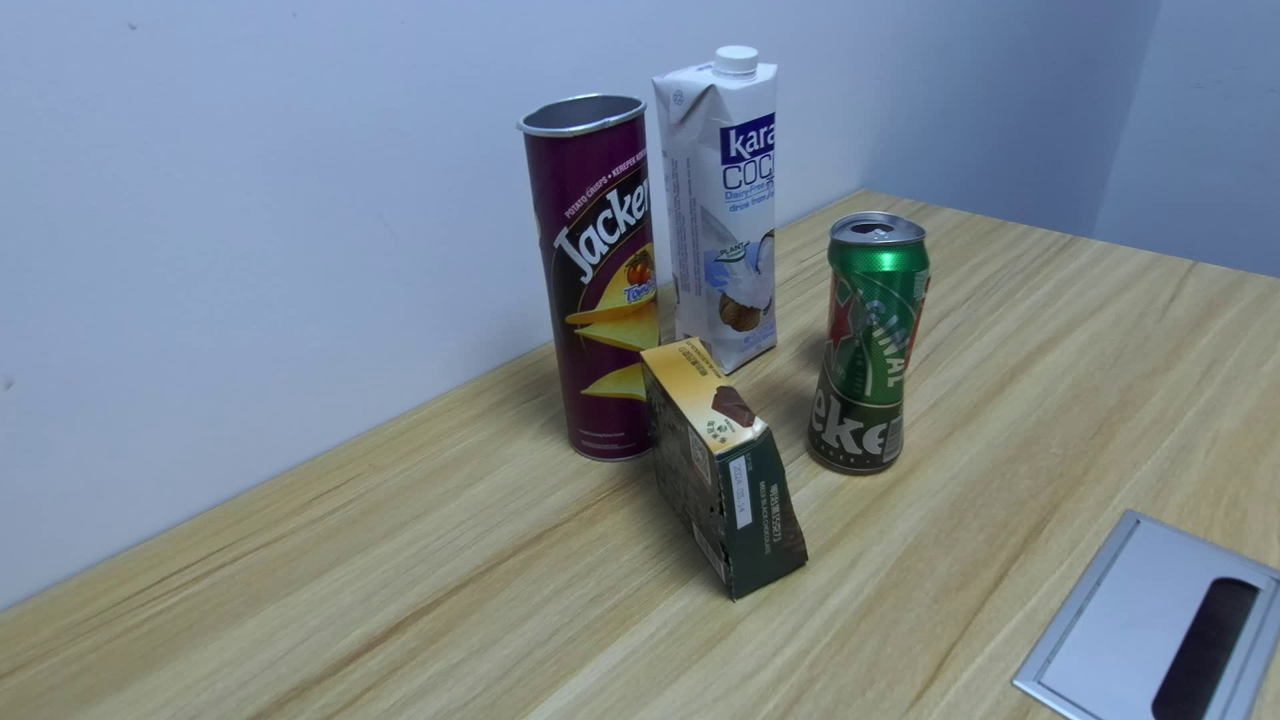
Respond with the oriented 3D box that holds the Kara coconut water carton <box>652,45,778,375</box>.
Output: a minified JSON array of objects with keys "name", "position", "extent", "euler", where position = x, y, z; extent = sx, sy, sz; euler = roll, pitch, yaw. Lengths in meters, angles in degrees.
[{"name":"Kara coconut water carton","position":[0.064,-0.112,0.554],"extent":[0.077,0.245,0.075],"euler":[-28,36,-32]}]

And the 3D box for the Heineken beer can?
[{"name":"Heineken beer can","position":[0.145,-0.006,0.455],"extent":[0.066,0.164,0.078],"euler":[18,34,33]}]

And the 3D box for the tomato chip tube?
[{"name":"tomato chip tube","position":[-0.024,-0.047,0.476],"extent":[0.080,0.234,0.076],"euler":[-18,33,-20]}]
